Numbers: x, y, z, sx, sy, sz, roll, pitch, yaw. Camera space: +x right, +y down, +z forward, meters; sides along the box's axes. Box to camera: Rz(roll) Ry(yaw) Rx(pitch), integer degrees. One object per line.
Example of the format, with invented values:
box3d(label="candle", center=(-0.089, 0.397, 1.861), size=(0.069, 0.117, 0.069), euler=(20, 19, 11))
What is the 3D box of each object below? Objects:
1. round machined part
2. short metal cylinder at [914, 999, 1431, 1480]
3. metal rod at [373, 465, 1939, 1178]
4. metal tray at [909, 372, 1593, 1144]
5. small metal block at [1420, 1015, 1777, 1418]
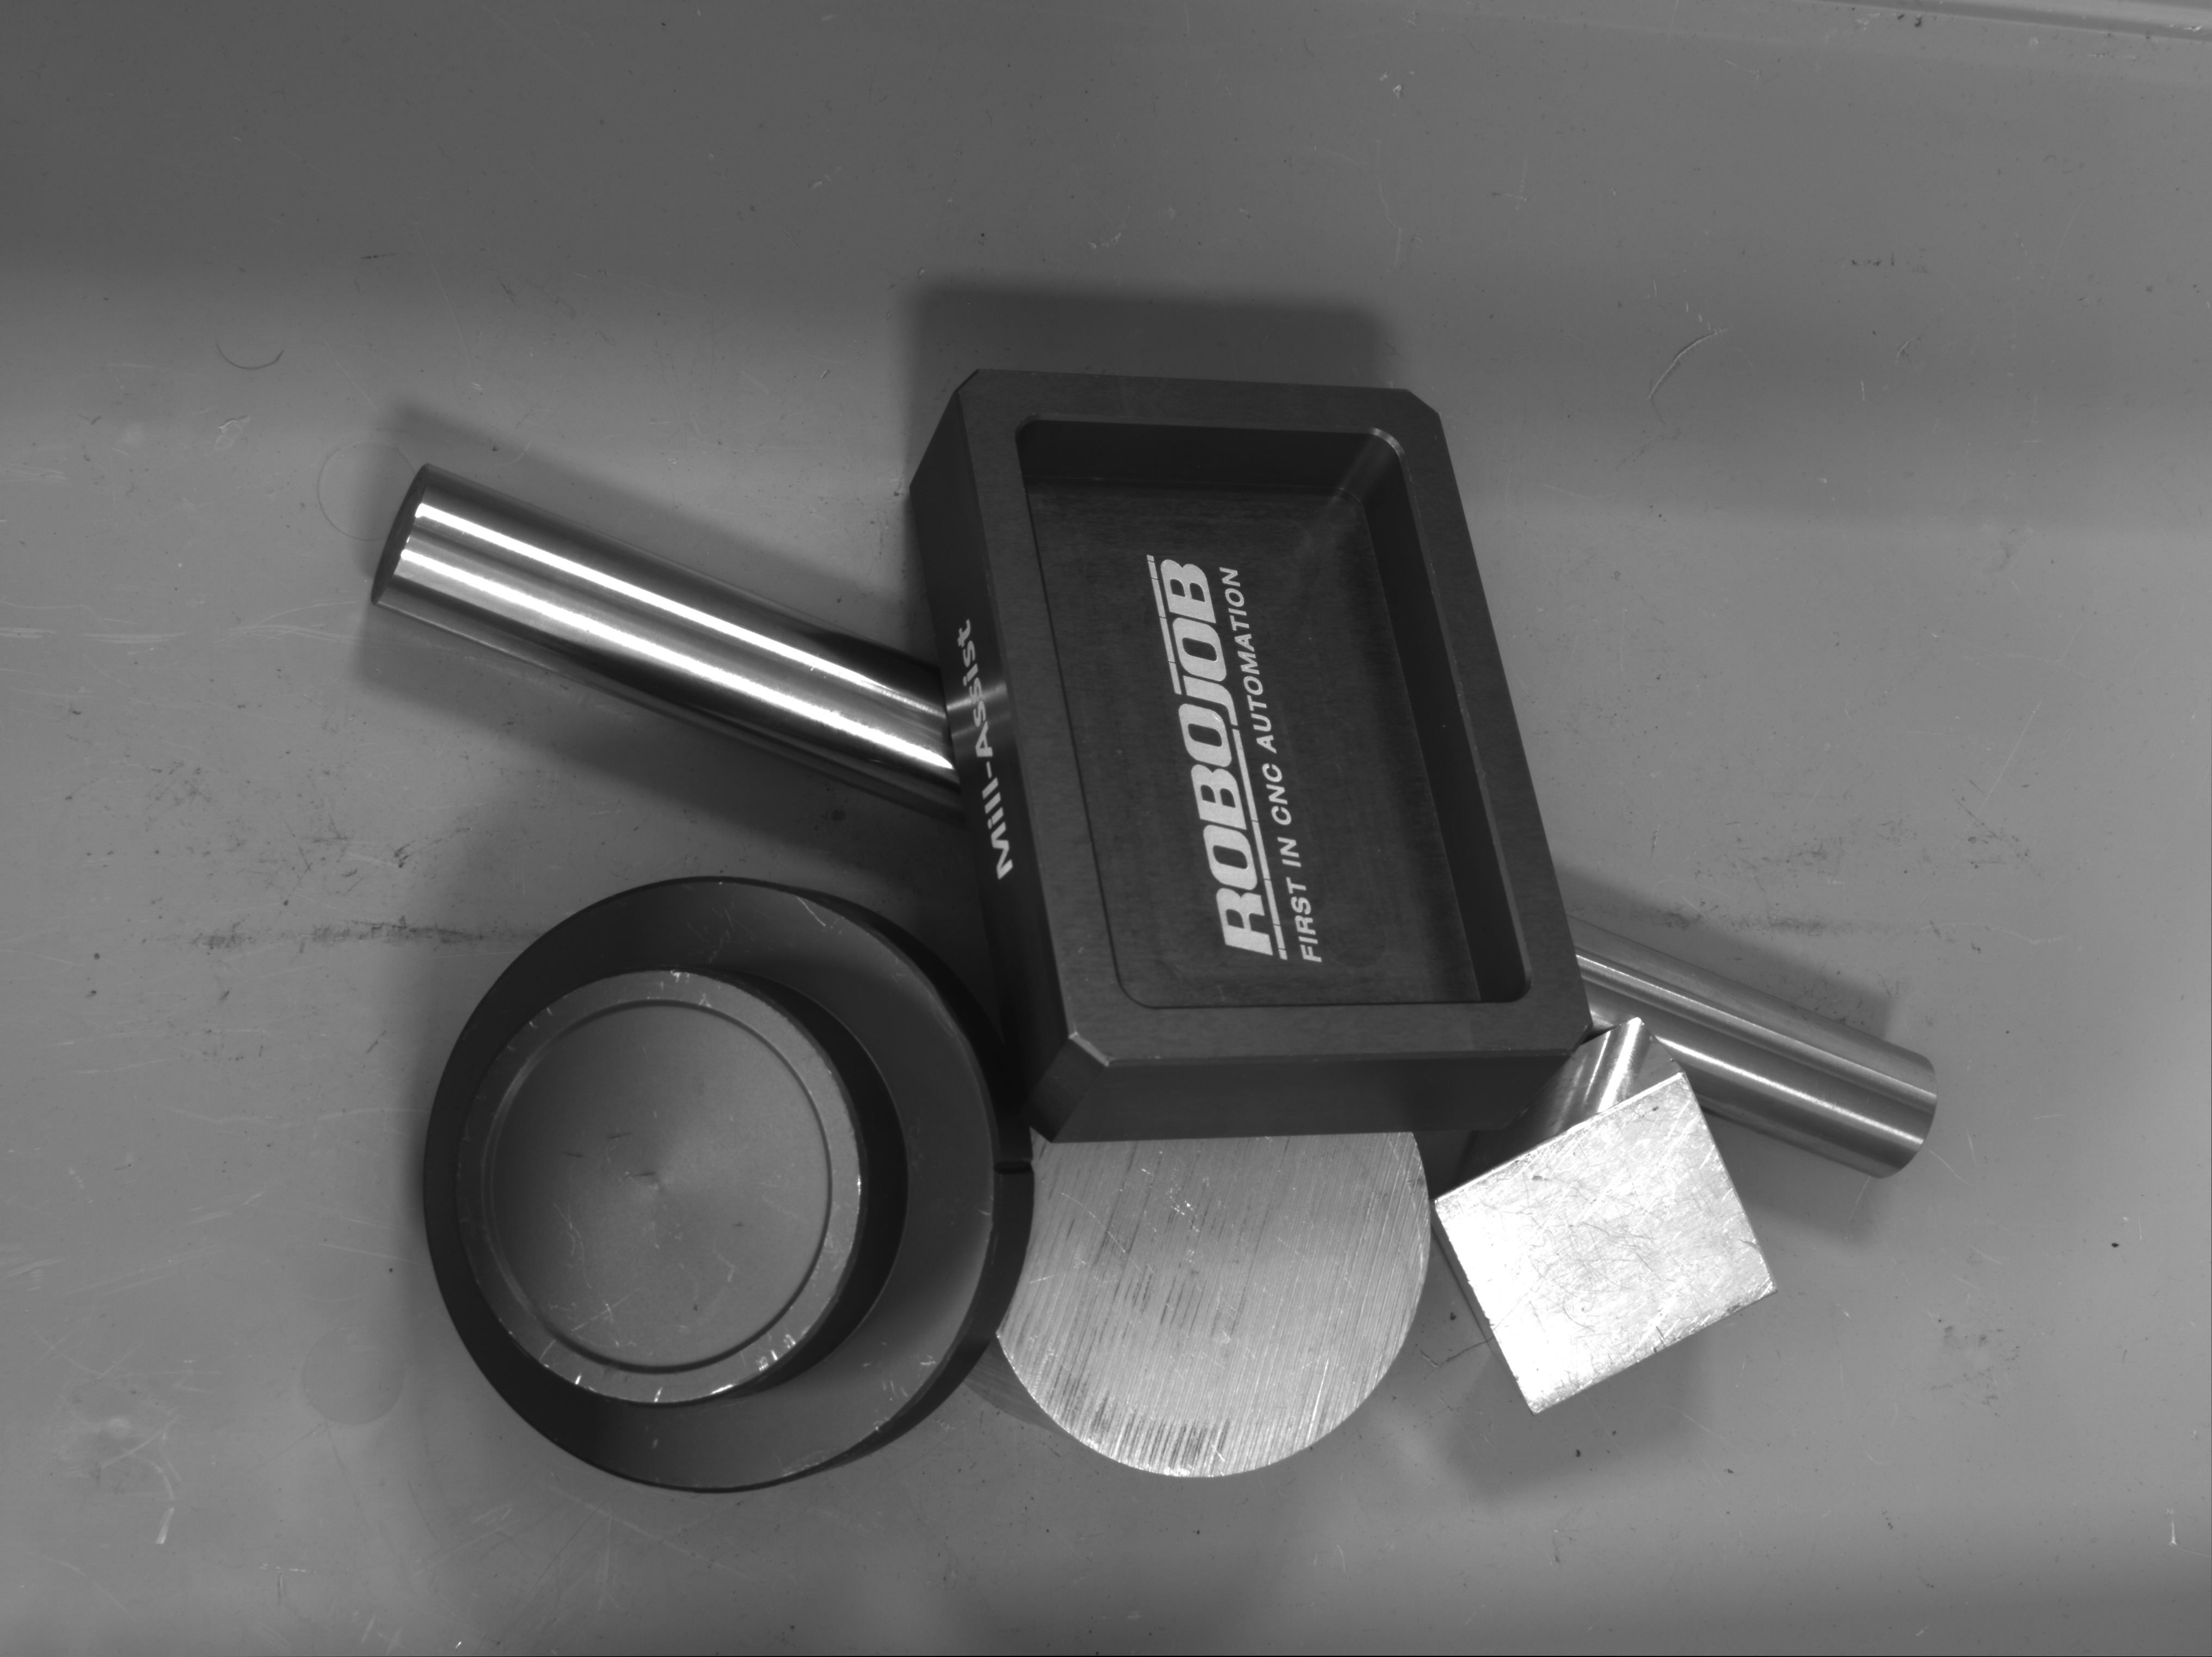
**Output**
box3d(label="round machined part", center=(-0.064, 0.057, 0.585), size=(0.098, 0.042, 0.098), euler=(-1, 85, 13))
box3d(label="short metal cylinder", center=(0.009, 0.068, 0.632), size=(0.080, 0.050, 0.080), euler=(0, 90, -20))
box3d(label="metal rod", center=(0.017, 0.003, 0.648), size=(0.301, 0.025, 0.025), euler=(21, 83, -19))
box3d(label="metal tray", center=(0.022, -0.013, 0.616), size=(0.090, 0.030, 0.130), euler=(0, 61, -20))
box3d(label="small metal block", center=(0.086, 0.070, 0.662), size=(0.050, 0.025, 0.050), euler=(-27, 115, -2))
